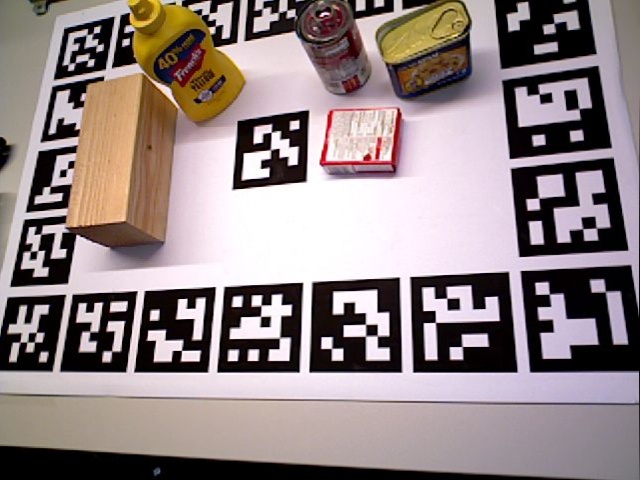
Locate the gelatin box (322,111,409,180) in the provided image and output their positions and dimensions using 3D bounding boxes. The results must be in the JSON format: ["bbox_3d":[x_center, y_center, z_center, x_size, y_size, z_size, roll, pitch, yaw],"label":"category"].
[{"bbox_3d":[0.053,-0.110,0.629,0.090,0.030,0.073,5,76,22],"label":"gelatin box"}]

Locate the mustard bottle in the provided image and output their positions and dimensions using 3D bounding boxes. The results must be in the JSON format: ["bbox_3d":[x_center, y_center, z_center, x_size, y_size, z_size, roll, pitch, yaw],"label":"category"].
[{"bbox_3d":[-0.170,-0.221,0.660,0.096,0.192,0.058,-28,65,5],"label":"mustard bottle"}]

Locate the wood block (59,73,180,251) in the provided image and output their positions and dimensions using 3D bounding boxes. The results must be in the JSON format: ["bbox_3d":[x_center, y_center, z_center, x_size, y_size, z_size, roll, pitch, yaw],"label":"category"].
[{"bbox_3d":[-0.253,-0.099,0.700,0.091,0.090,0.204,-3,68,15],"label":"wood block"}]

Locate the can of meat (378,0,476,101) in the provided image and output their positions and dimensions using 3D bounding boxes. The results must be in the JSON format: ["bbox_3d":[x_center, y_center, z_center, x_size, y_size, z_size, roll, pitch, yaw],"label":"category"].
[{"bbox_3d":[0.123,-0.212,0.614,0.102,0.084,0.057,-17,68,9],"label":"can of meat"}]

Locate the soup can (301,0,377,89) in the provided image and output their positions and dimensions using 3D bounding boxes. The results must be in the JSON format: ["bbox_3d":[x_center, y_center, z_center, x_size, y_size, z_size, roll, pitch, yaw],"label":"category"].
[{"bbox_3d":[0.025,-0.232,0.633,0.068,0.102,0.067,-5,71,16],"label":"soup can"}]
